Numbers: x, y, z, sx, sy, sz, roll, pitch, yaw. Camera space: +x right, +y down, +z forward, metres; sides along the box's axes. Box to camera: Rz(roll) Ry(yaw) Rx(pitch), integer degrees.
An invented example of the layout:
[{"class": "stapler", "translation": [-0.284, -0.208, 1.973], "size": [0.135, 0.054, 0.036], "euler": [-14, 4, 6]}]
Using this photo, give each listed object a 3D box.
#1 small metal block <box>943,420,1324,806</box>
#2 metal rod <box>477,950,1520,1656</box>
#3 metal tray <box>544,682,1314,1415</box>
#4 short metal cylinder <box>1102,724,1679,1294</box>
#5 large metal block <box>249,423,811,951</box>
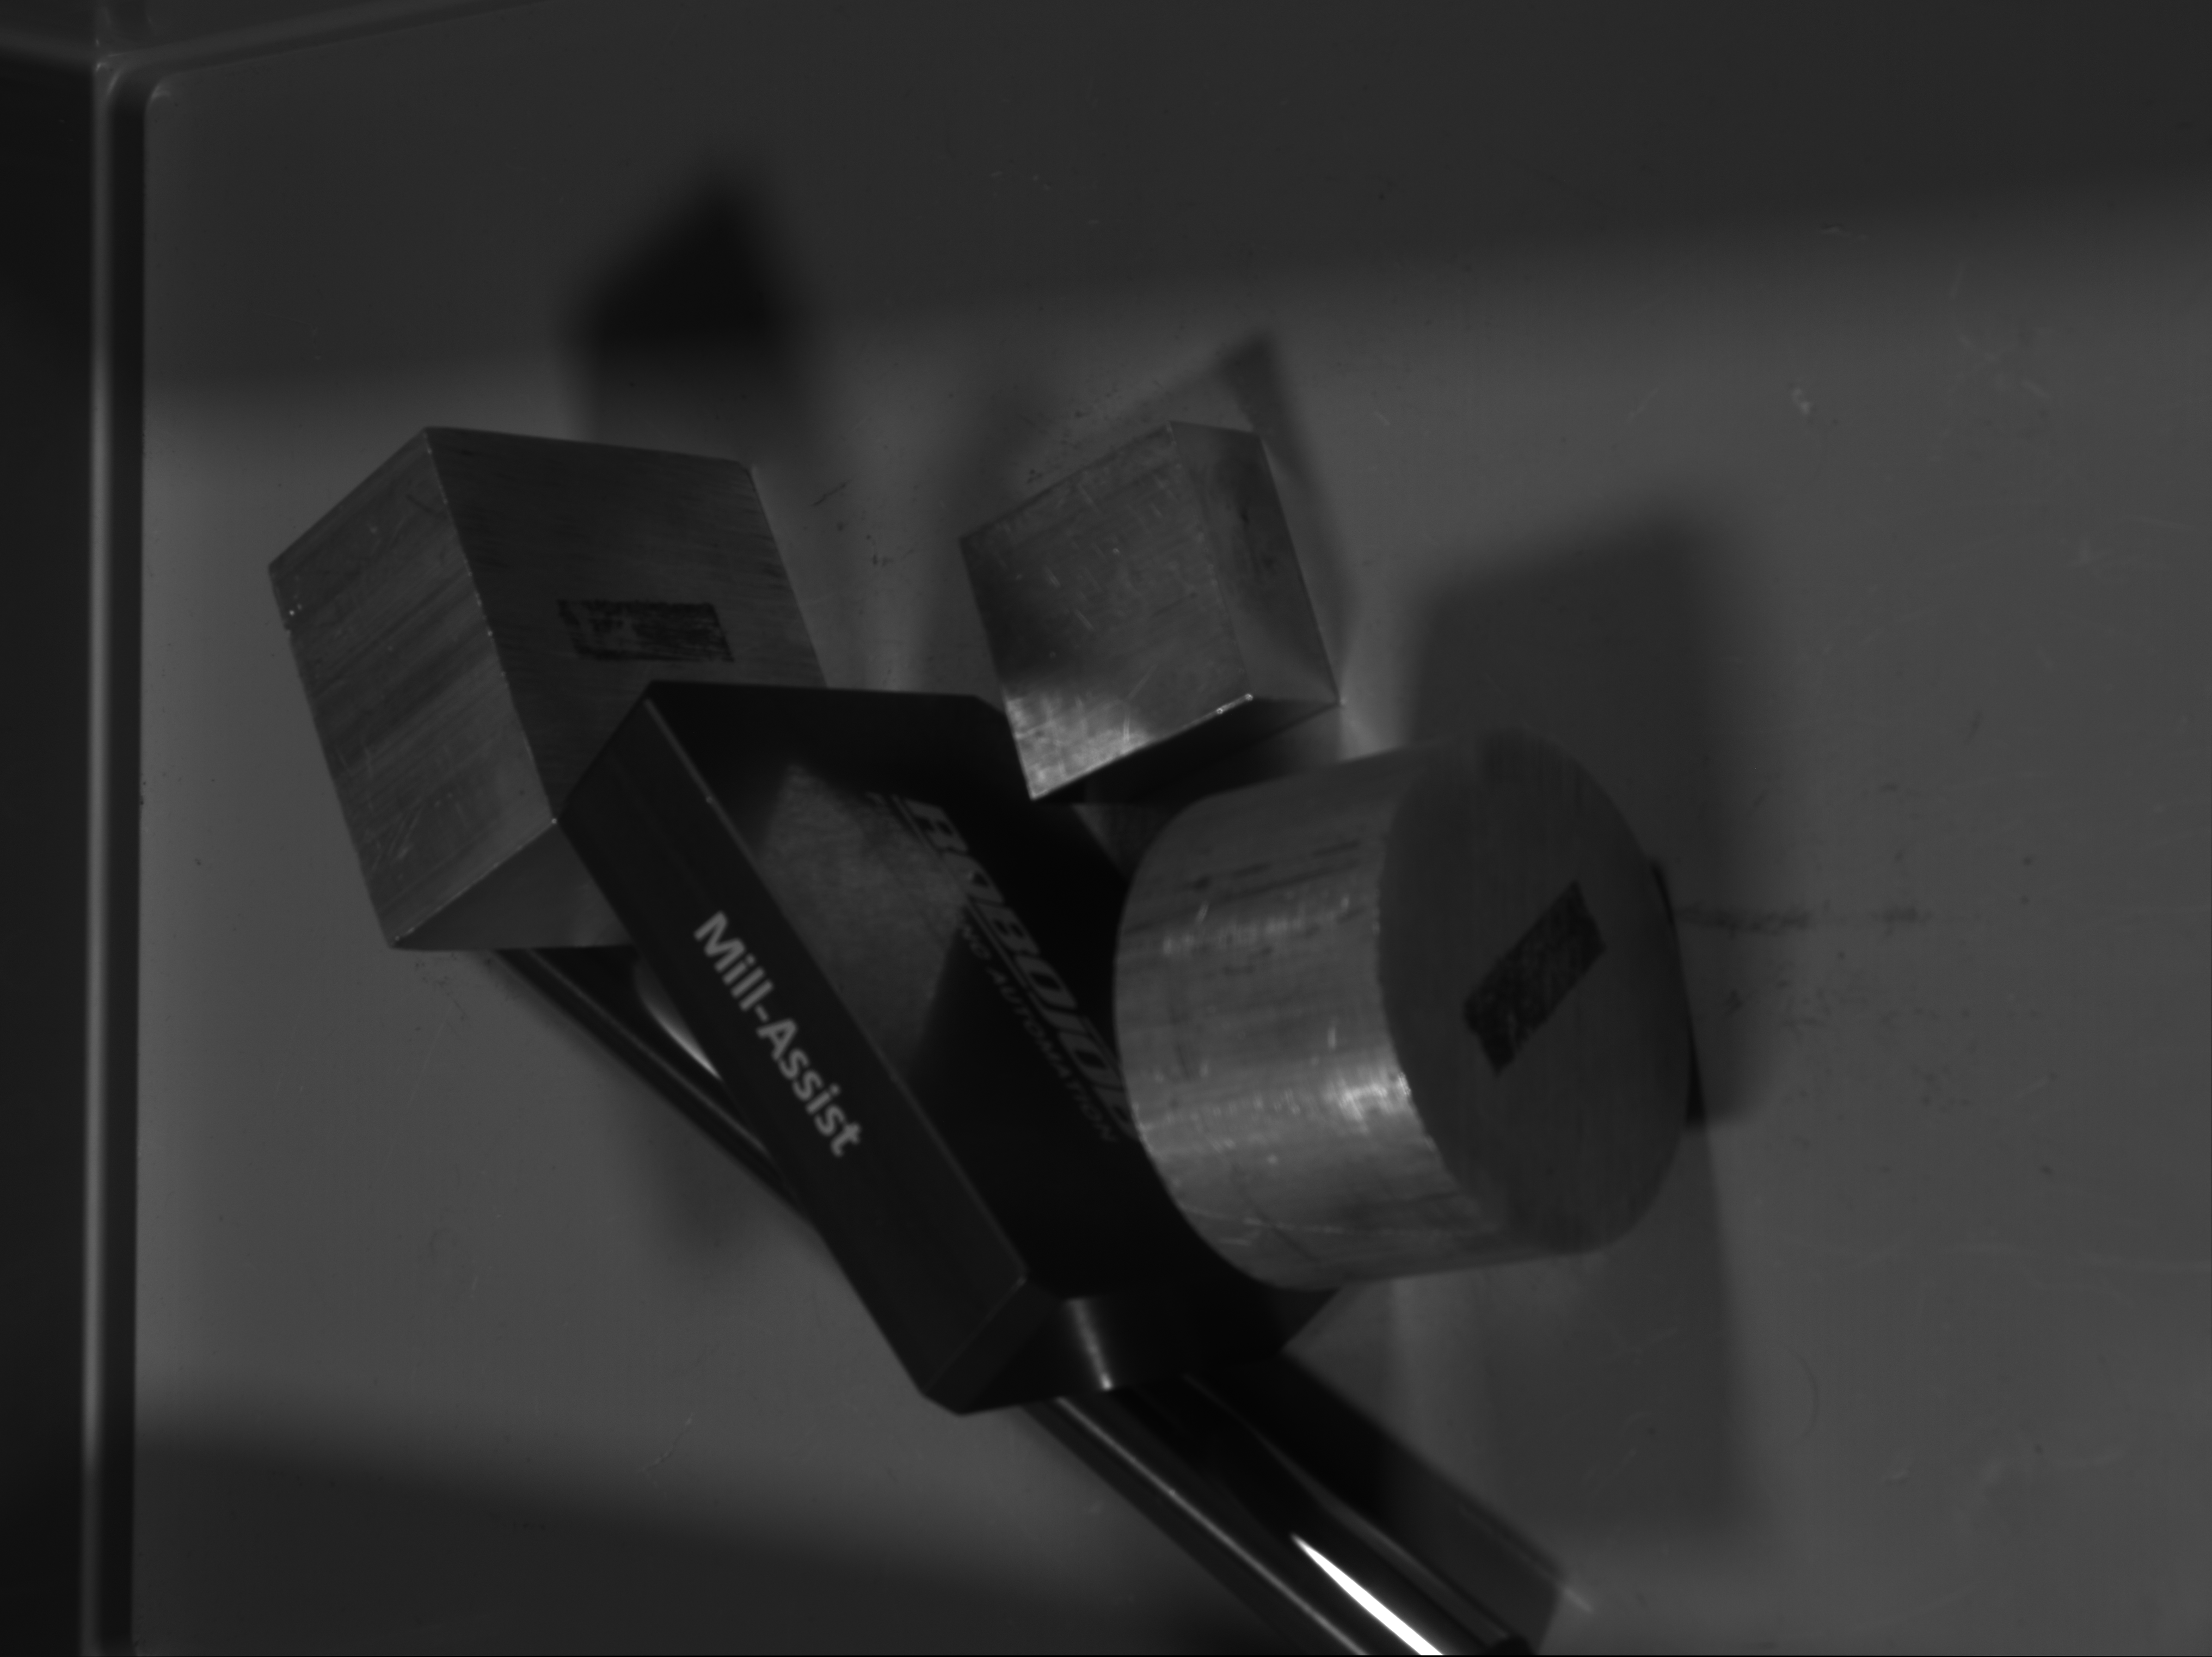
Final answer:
[{"class": "small metal block", "translation": [0.004, -0.036, 0.630], "size": [0.050, 0.025, 0.050], "euler": [-25, 74, 36]}, {"class": "metal rod", "translation": [-0.043, 0.068, 0.670], "size": [0.299, 0.025, 0.025], "euler": [35, 111, 34]}, {"class": "metal tray", "translation": [-0.026, 0.033, 0.613], "size": [0.030, 0.090, 0.130], "euler": [-50, 61, 27]}, {"class": "short metal cylinder", "translation": [0.045, 0.029, 0.562], "size": [0.050, 0.080, 0.080], "euler": [-15, 80, 39]}, {"class": "large metal block", "translation": [-0.102, -0.025, 0.683], "size": [0.050, 0.080, 0.080], "euler": [-33, 70, 35]}]
